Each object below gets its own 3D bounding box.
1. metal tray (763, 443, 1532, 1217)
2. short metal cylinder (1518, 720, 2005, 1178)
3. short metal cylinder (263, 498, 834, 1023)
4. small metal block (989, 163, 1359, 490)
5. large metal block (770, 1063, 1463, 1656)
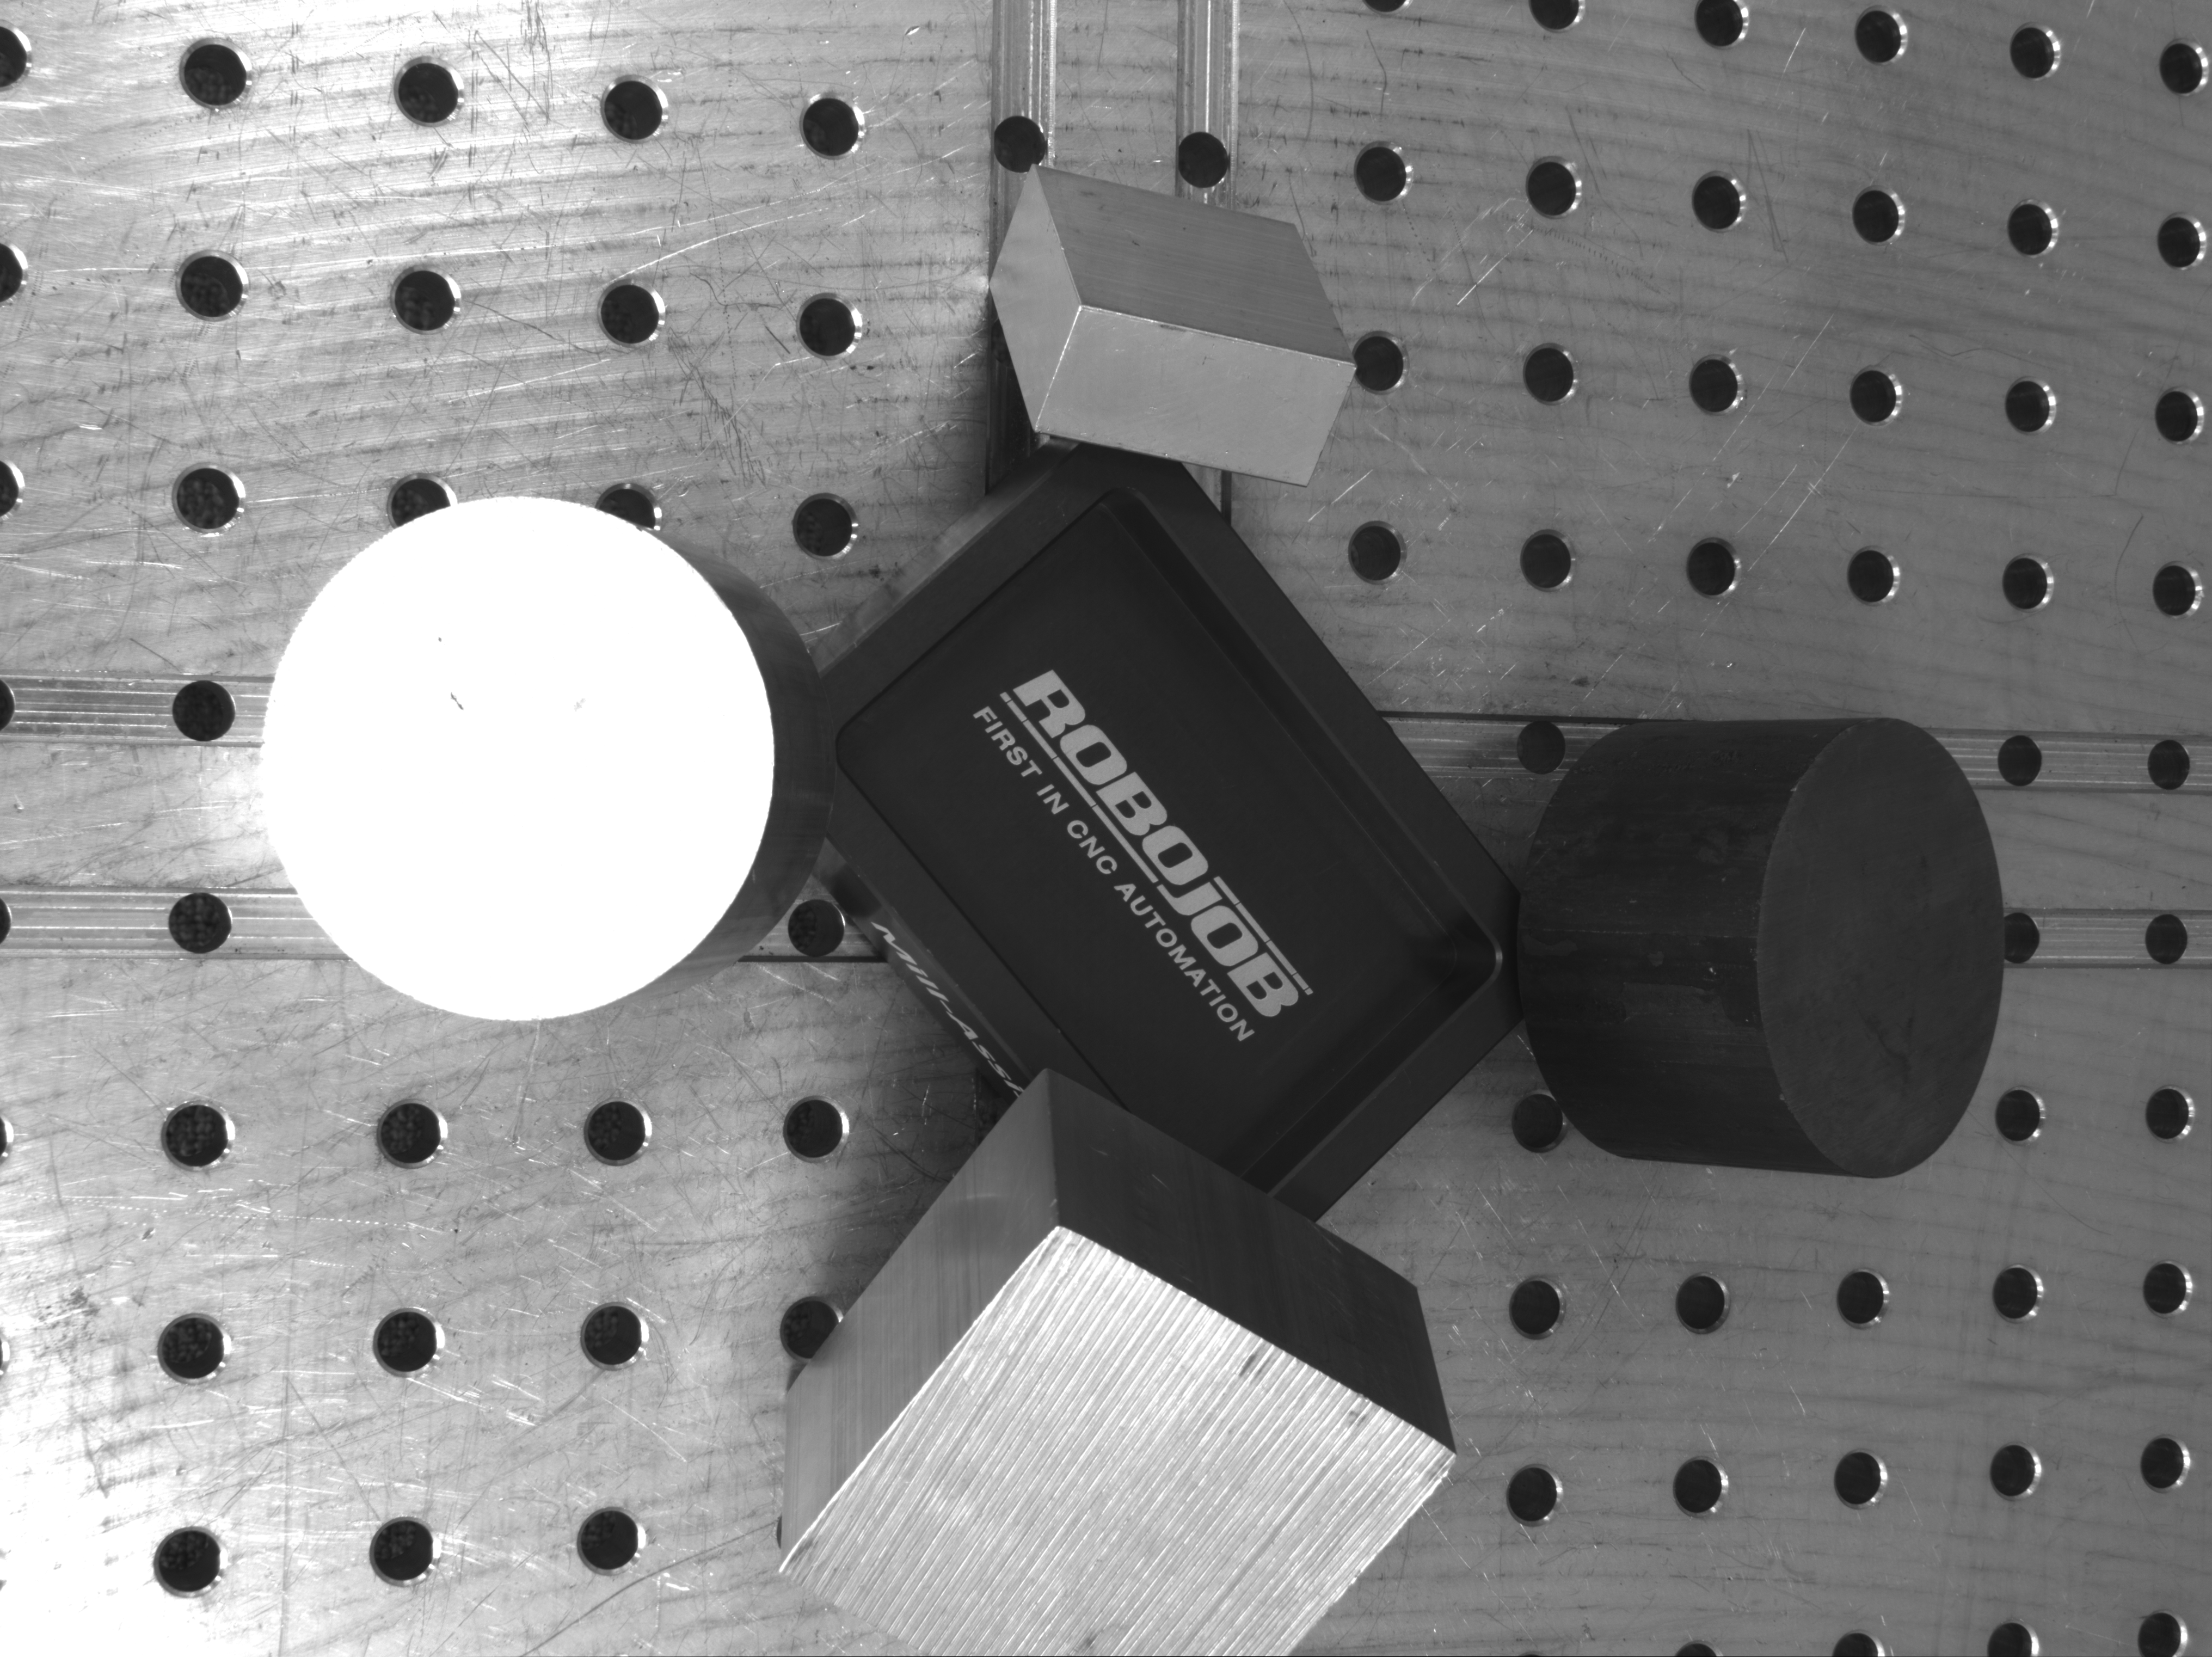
[{"bbox_3d":[0.008,0.005,0.646,0.090,0.030,0.130,-43,103,-15],"label":"metal tray"},{"bbox_3d":[0.118,0.021,0.659,0.080,0.050,0.080,0,91,-46],"label":"short metal cylinder"},{"bbox_3d":[-0.087,-0.010,0.585,0.080,0.050,0.080,0,90,6],"label":"short metal cylinder"},{"bbox_3d":[0.011,-0.087,0.634,0.050,0.050,0.025,10,125,-19],"label":"small metal block"},{"bbox_3d":[0.000,0.100,0.615,0.080,0.050,0.080,33,110,-17],"label":"large metal block"}]
